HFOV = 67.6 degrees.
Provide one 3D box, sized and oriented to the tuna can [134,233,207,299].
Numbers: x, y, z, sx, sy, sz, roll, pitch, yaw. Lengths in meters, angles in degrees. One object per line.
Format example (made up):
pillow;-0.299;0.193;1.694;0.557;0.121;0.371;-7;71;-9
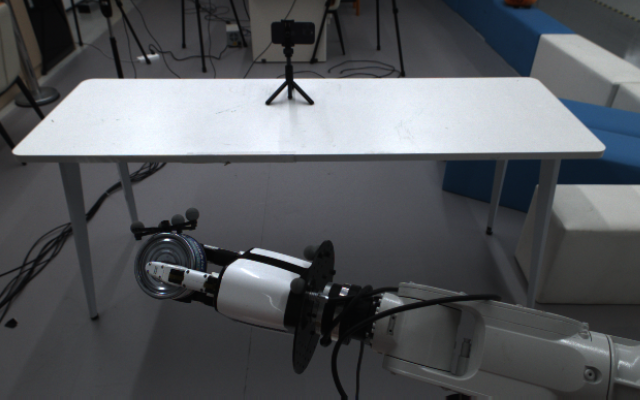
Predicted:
tuna can;-0.187;0.089;0.612;0.085;0.085;0.034;12;-6;14
